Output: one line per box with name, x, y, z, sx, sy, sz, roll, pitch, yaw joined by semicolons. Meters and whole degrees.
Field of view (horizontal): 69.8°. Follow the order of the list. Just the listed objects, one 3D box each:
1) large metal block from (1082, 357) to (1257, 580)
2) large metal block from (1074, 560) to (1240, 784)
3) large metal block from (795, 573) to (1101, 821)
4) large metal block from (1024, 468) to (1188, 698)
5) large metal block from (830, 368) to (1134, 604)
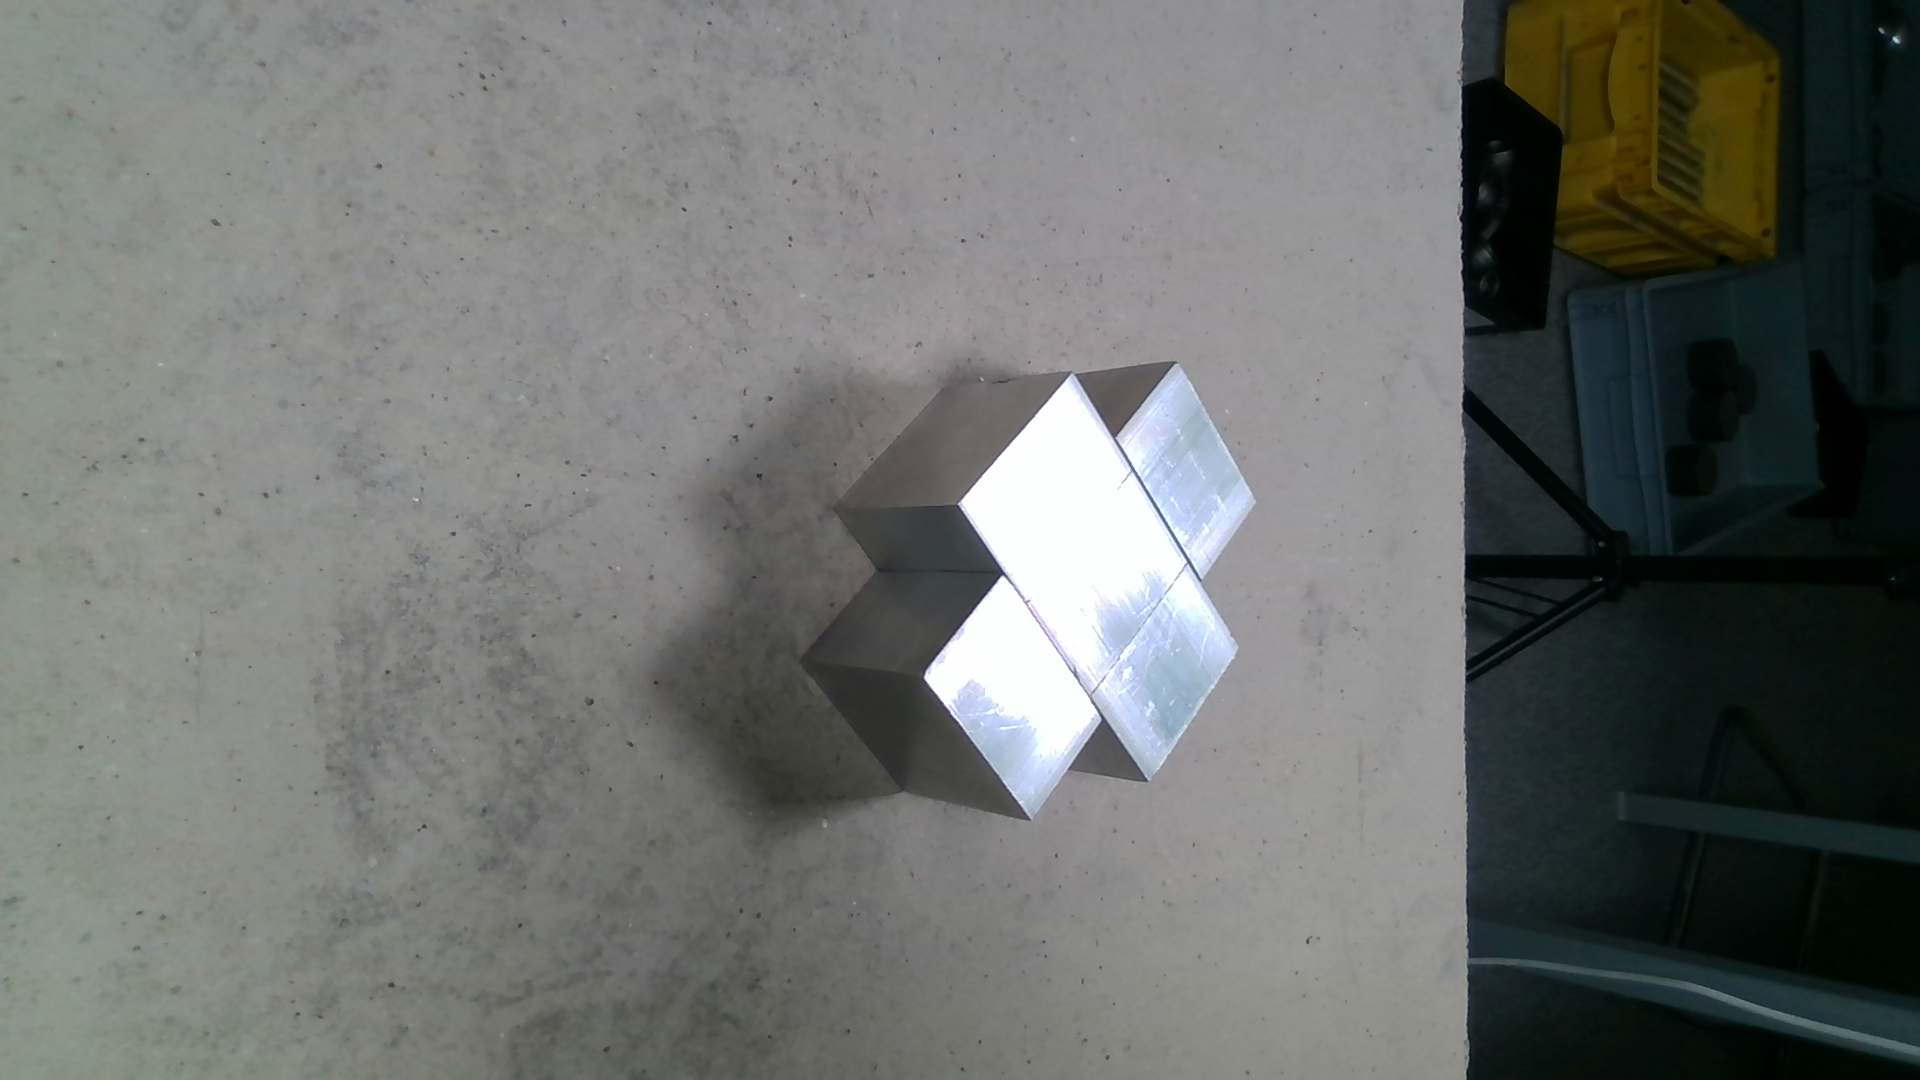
large metal block;0.070;-0.029;0.607;0.050;0.080;0.080;-50;120;-29
large metal block;0.060;0.054;0.599;0.080;0.080;0.050;-50;120;-29
large metal block;-0.005;0.060;0.544;0.050;0.080;0.080;-50;120;-29
large metal block;0.034;0.017;0.577;0.080;0.080;0.050;-50;120;-29
large metal block;0.009;-0.021;0.555;0.080;0.080;0.050;-50;120;-29
